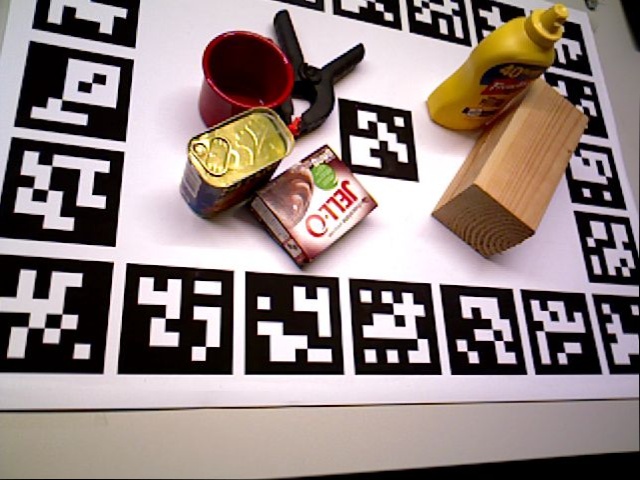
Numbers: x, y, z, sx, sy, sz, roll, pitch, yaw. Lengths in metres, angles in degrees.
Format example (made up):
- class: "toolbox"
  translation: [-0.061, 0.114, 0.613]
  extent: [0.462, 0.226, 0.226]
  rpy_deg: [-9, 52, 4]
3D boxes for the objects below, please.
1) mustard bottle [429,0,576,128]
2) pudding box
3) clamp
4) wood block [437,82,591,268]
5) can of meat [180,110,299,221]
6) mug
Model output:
- class: "mustard bottle"
  translation: [0.214, -0.201, 0.624]
  extent: [0.095, 0.195, 0.058]
  rpy_deg: [0, 71, -21]
- class: "pudding box"
  translation: [0.001, -0.030, 0.571]
  extent: [0.111, 0.039, 0.090]
  rpy_deg: [-39, 89, -29]
- class: "clamp"
  translation: [-0.014, -0.188, 0.627]
  extent: [0.121, 0.037, 0.163]
  rpy_deg: [23, 67, -14]
- class: "wood block"
  translation: [0.238, -0.081, 0.655]
  extent: [0.090, 0.093, 0.202]
  rpy_deg: [38, 60, -2]
- class: "can of meat"
  translation: [-0.082, -0.068, 0.520]
  extent: [0.100, 0.085, 0.058]
  rpy_deg: [-28, 84, -28]
- class: "mug"
  translation: [-0.086, -0.159, 0.583]
  extent: [0.093, 0.083, 0.115]
  rpy_deg: [26, 65, -11]
